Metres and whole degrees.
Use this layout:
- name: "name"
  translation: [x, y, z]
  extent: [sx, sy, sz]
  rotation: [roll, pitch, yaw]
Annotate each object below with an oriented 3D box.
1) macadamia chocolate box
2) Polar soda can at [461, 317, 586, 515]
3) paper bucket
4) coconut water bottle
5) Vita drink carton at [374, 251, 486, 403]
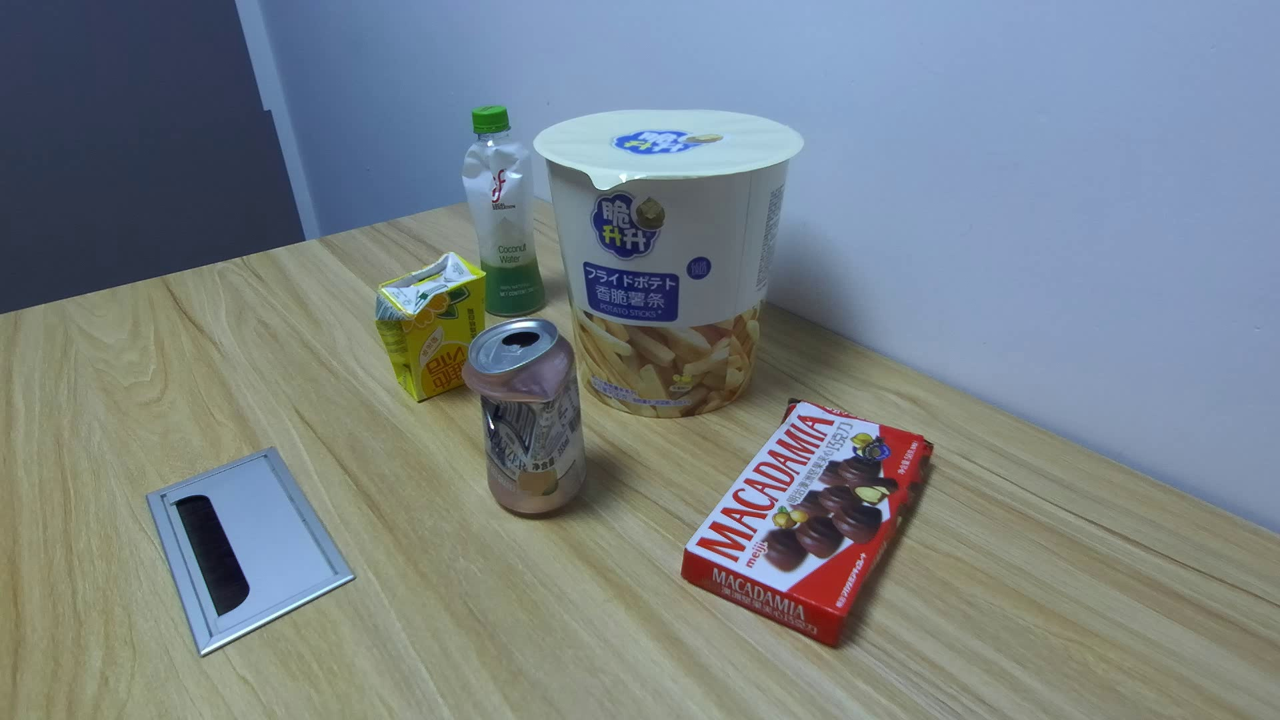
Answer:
- name: "macadamia chocolate box"
  translation: [0.111, 0.087, 0.441]
  extent: [0.105, 0.028, 0.183]
  rotation: [18, 35, 26]
- name: "Polar soda can"
  translation: [-0.074, 0.038, 0.444]
  extent: [0.071, 0.122, 0.066]
  rotation: [3, 37, 9]
- name: "paper bucket"
  translation: [0.023, -0.076, 0.548]
  extent: [0.198, 0.195, 0.198]
  rotation: [-1, 31, 1]
- name: "coconut water bottle"
  translation: [-0.127, -0.135, 0.659]
  extent: [0.069, 0.186, 0.069]
  rotation: [0, 30, 0]
- name: "Vita drink carton"
  translation: [-0.159, -0.022, 0.556]
  extent: [0.087, 0.108, 0.042]
  rotation: [-25, 51, -29]
